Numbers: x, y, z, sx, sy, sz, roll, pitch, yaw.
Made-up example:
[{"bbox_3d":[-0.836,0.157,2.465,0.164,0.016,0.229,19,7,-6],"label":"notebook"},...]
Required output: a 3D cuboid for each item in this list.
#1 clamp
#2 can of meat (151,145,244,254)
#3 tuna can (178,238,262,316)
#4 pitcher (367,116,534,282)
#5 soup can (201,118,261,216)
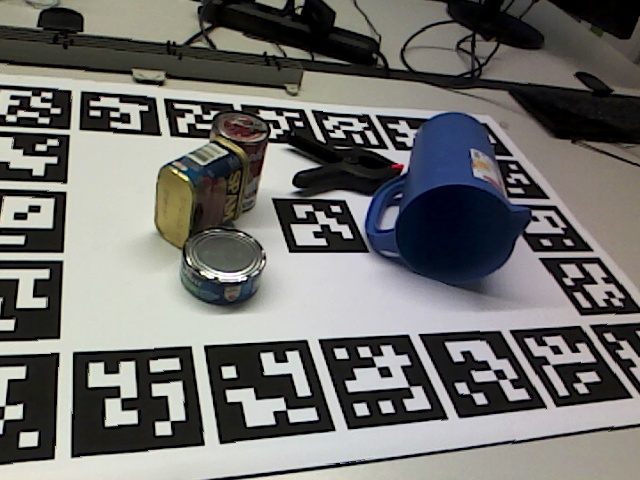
[{"bbox_3d":[0.010,-0.095,0.869,0.164,0.036,0.122,4,37,-21],"label":"clamp"},{"bbox_3d":[-0.137,-0.043,0.682,0.058,0.102,0.083,36,46,20],"label":"can of meat"},{"bbox_3d":[-0.107,0.039,0.655,0.085,0.034,0.086,10,41,-9],"label":"tuna can"},{"bbox_3d":[0.158,-0.066,0.792,0.189,0.133,0.243,-3,31,9],"label":"pitcher"},{"bbox_3d":[-0.112,-0.086,0.749,0.068,0.102,0.068,8,42,-8],"label":"soup can"}]
